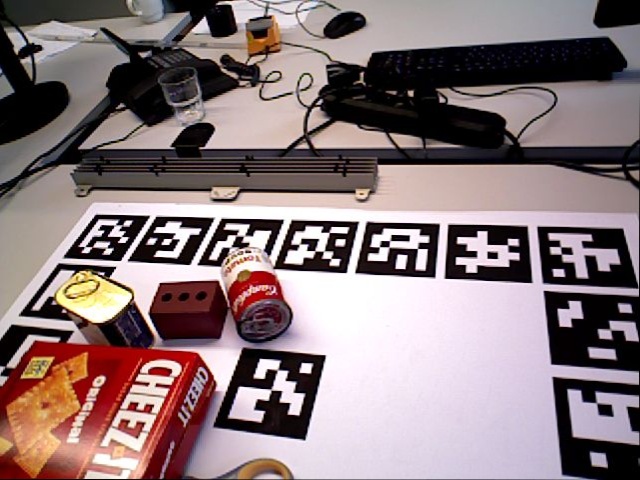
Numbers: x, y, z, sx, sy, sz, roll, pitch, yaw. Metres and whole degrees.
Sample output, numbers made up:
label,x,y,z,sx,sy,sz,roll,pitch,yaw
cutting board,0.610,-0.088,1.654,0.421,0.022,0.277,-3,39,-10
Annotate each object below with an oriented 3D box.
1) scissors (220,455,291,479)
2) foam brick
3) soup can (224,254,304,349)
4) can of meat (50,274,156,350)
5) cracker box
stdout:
label,x,y,z,sx,sy,sz,roll,pitch,yaw
scissors,-0.122,0.241,0.503,0.203,0.016,0.086,-2,46,12
foam brick,-0.154,0.089,0.655,0.078,0.052,0.052,-6,45,8
soup can,-0.069,0.071,0.650,0.067,0.069,0.101,-25,40,-12
can of meat,-0.255,0.096,0.646,0.102,0.085,0.056,13,50,24
cracker box,-0.232,0.191,0.536,0.214,0.073,0.161,-5,44,15
